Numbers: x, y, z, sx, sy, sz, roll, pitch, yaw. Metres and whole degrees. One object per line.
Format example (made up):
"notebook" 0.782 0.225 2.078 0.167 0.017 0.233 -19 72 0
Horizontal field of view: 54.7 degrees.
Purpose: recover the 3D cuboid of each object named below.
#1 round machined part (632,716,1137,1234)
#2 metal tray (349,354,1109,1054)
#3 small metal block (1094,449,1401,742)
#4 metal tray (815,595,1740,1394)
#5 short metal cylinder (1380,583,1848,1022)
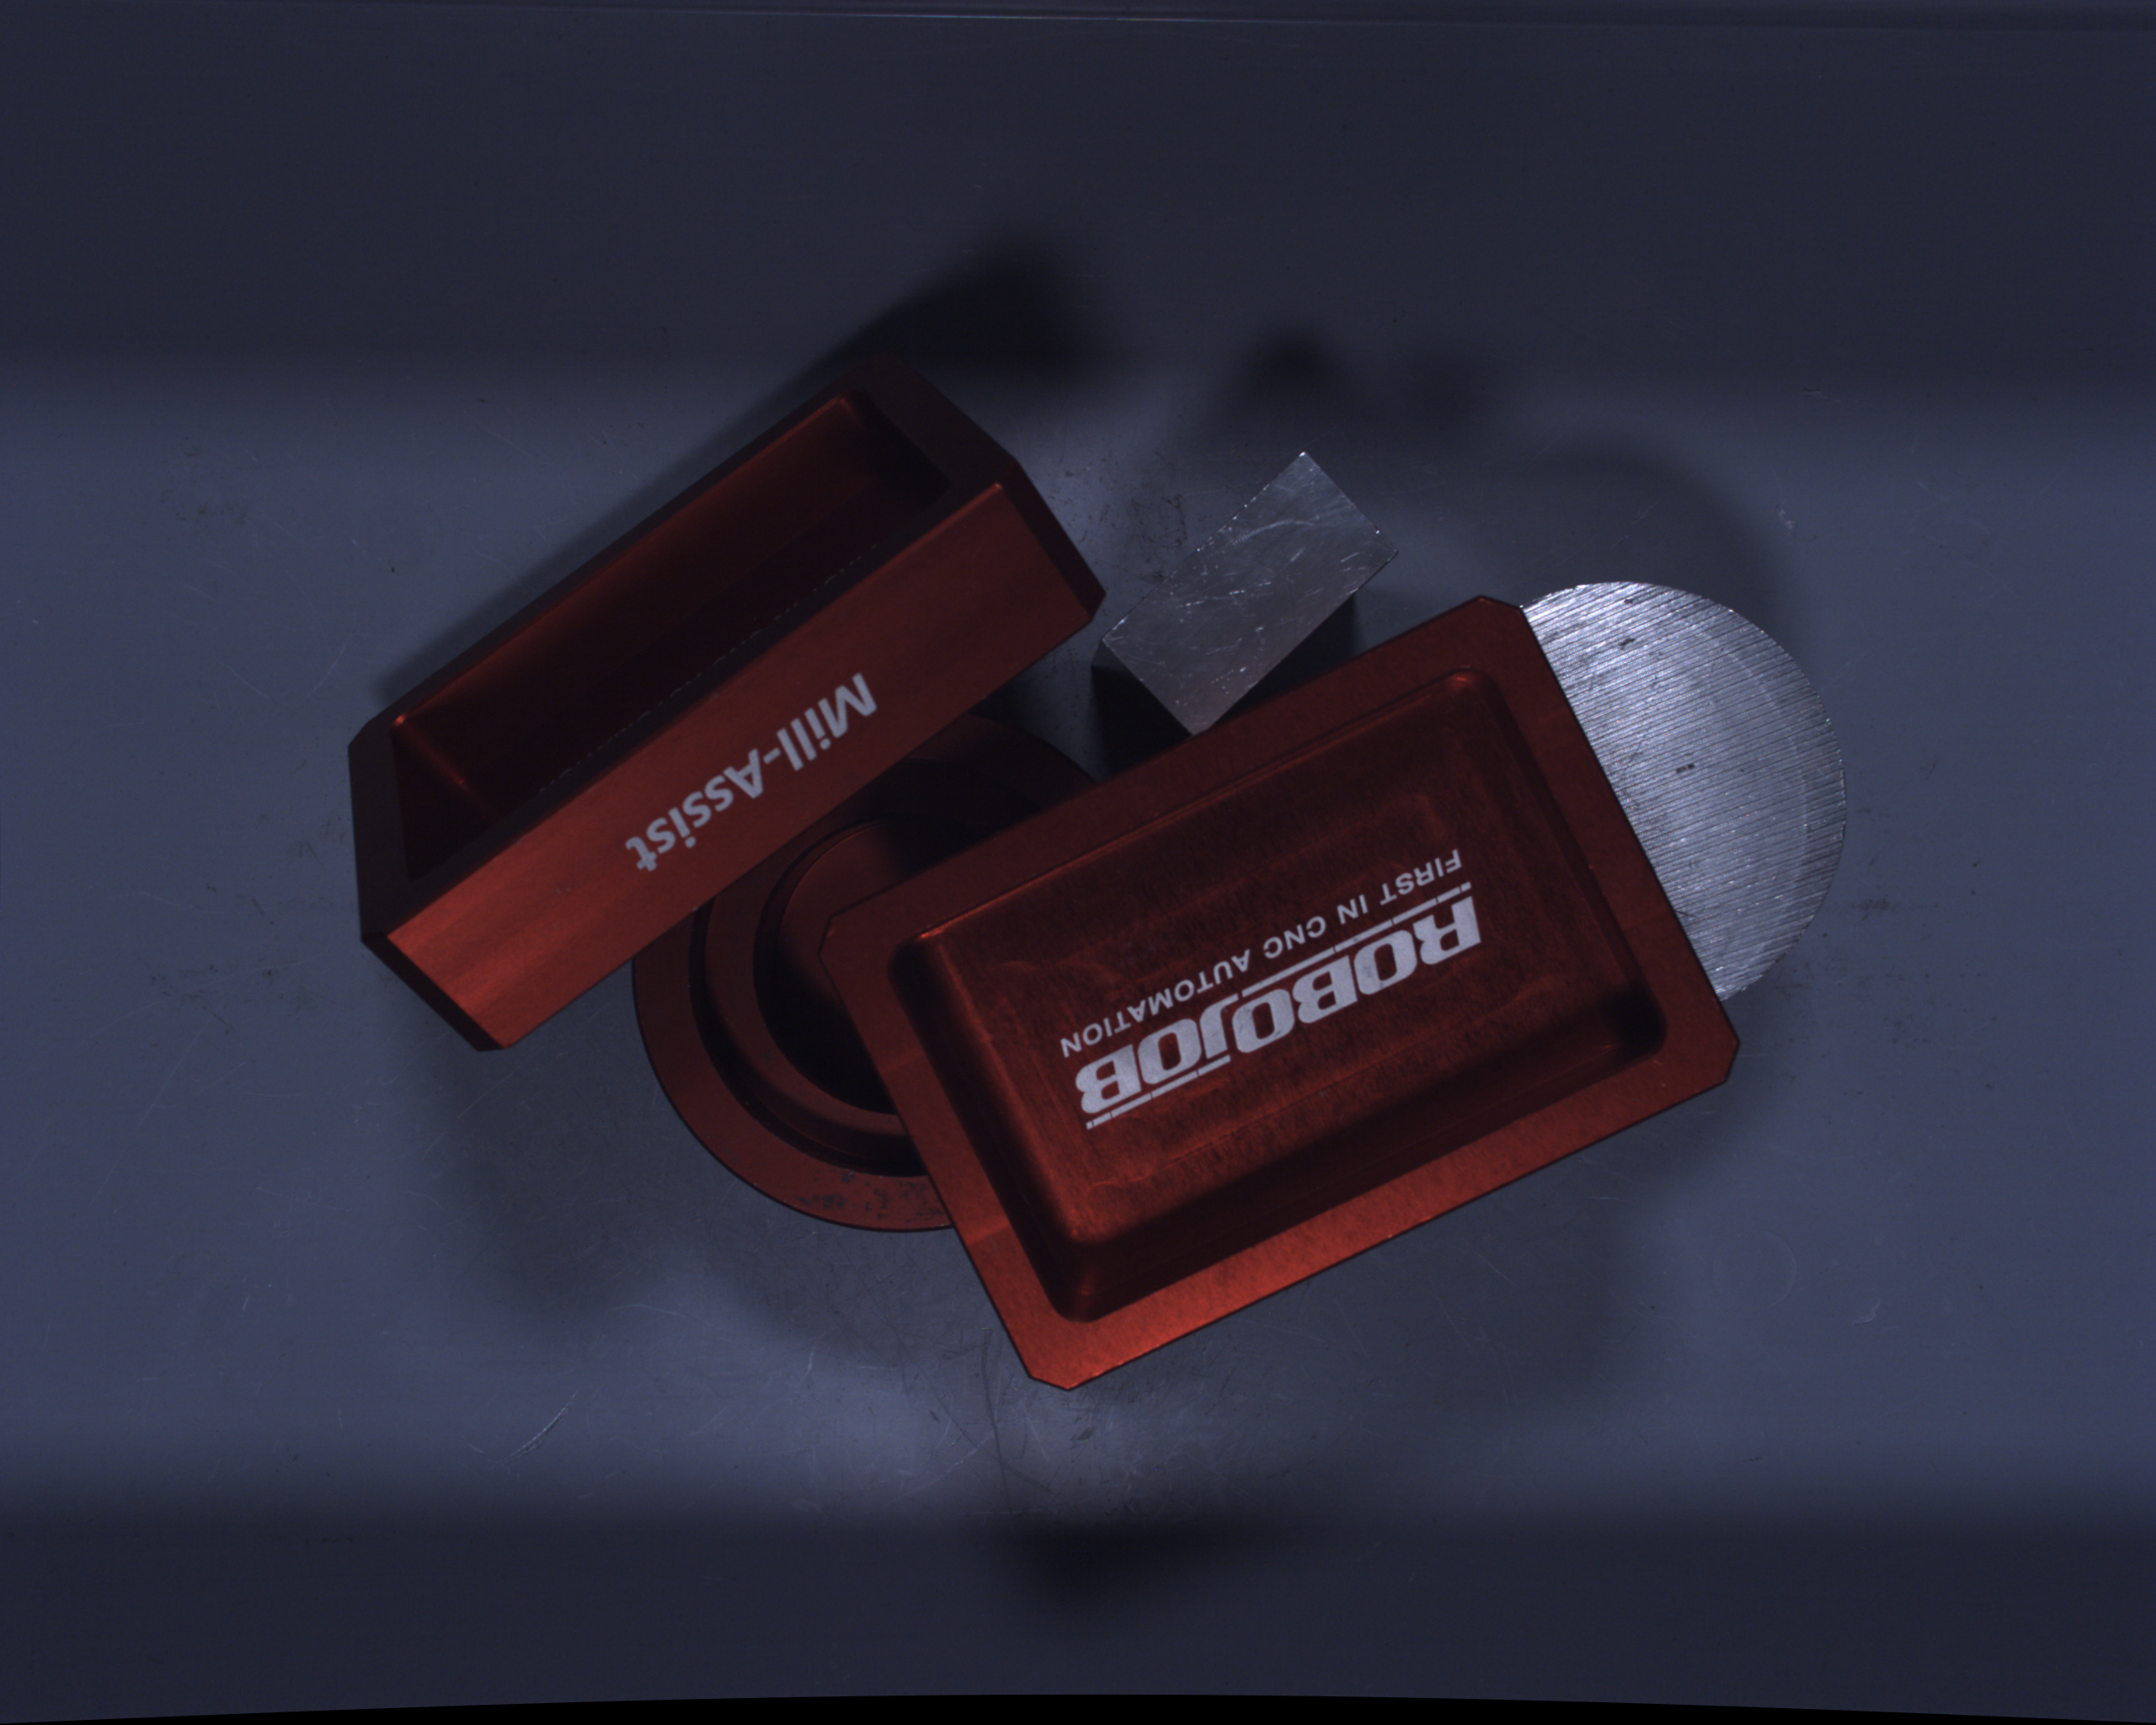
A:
"round machined part" -0.032 0.019 0.402 0.099 0.042 0.097 0 90 -1
"metal tray" -0.067 -0.033 0.375 0.130 0.090 0.030 -36 122 -1
"small metal block" 0.030 -0.048 0.397 0.050 0.050 0.025 -43 90 -2
"metal tray" 0.033 0.022 0.360 0.130 0.030 0.090 -26 90 4
"short metal cylinder" 0.098 -0.011 0.398 0.081 0.050 0.079 0 90 -1
